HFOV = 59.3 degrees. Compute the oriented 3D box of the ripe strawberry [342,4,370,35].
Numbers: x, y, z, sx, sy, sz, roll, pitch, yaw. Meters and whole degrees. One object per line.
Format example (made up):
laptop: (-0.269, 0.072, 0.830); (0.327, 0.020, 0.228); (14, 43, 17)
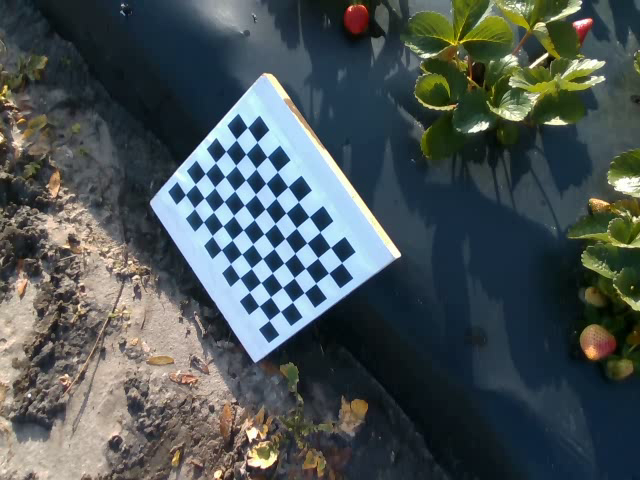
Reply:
ripe strawberry: (0.041, -0.254, 0.656); (0.030, 0.045, 0.033); (-6, -23, 32)
